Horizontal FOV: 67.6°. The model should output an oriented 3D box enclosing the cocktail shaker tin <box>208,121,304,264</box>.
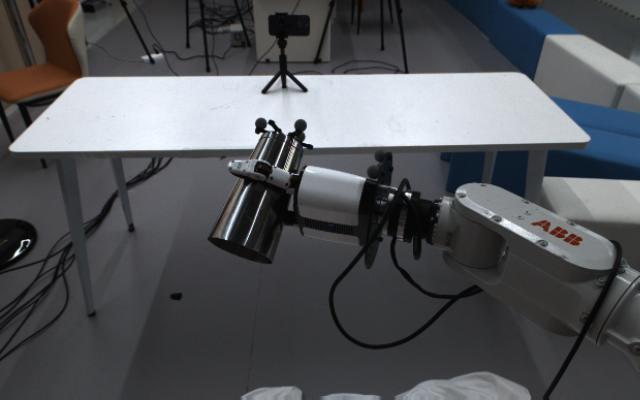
[{"bbox_3d":[-0.082,-0.007,0.674,0.093,0.093,0.170,14,70,16],"label":"cocktail shaker tin"}]
